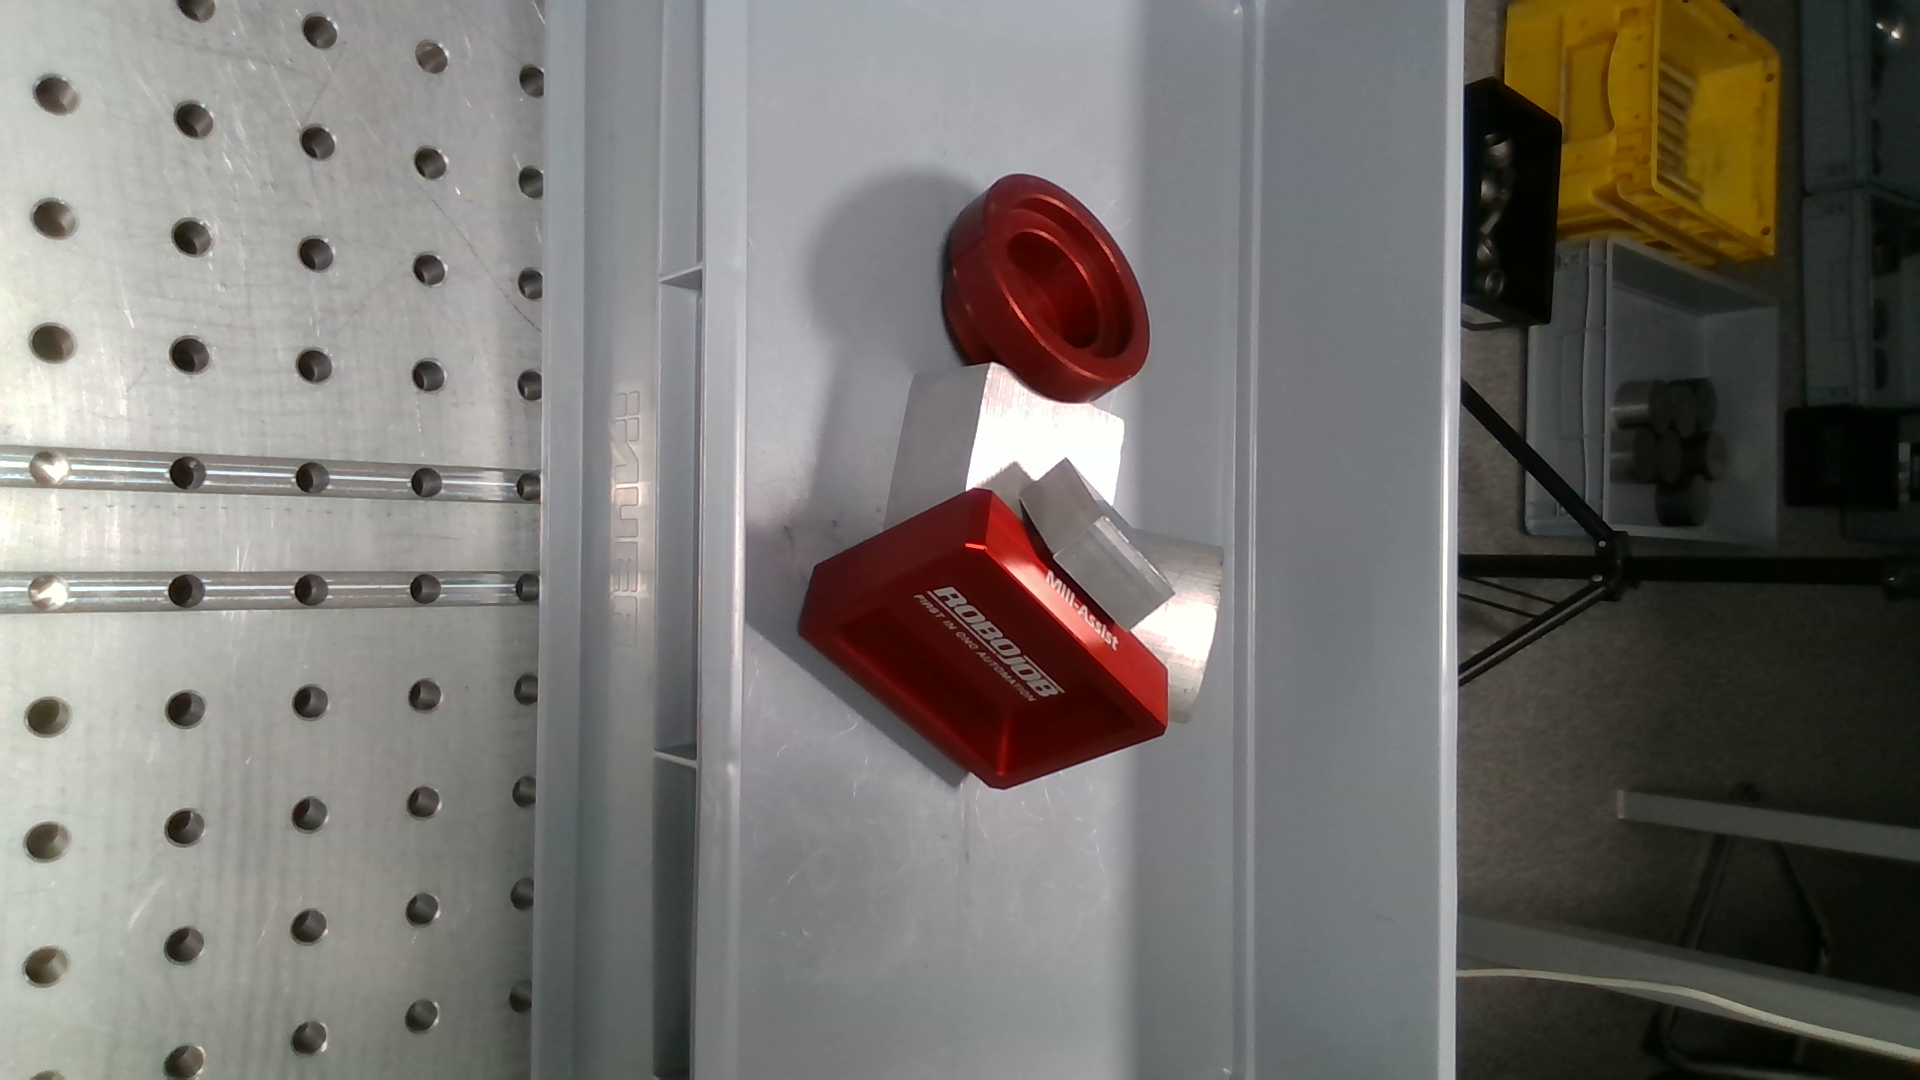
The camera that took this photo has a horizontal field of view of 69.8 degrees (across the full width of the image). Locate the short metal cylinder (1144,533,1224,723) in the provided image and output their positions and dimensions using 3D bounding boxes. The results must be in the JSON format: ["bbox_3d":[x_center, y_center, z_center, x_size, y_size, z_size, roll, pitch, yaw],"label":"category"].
[{"bbox_3d":[0.083,0.037,0.607,0.050,0.080,0.080,11,80,5],"label":"short metal cylinder"}]

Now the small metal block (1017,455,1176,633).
[{"bbox_3d":[0.053,0.001,0.543,0.025,0.050,0.050,-40,121,10],"label":"small metal block"}]

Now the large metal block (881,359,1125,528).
[{"bbox_3d":[0.018,-0.023,0.581,0.080,0.050,0.080,19,78,-39],"label":"large metal block"}]

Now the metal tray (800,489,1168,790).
[{"bbox_3d":[0.012,0.044,0.548,0.130,0.090,0.030,44,36,-32],"label":"metal tray"}]

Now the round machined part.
[{"bbox_3d":[0.032,-0.101,0.582,0.098,0.042,0.098,24,51,-34],"label":"round machined part"}]
